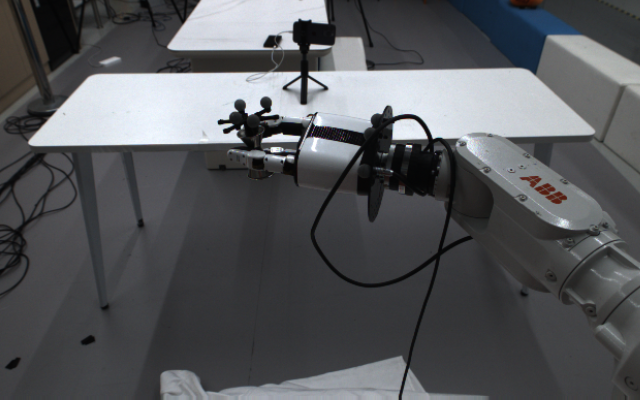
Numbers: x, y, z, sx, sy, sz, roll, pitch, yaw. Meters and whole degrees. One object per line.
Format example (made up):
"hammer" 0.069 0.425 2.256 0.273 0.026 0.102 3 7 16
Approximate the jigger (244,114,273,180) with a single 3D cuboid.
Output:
"jigger" -0.090 -0.070 0.701 0.043 0.071 0.043 -8 31 5
